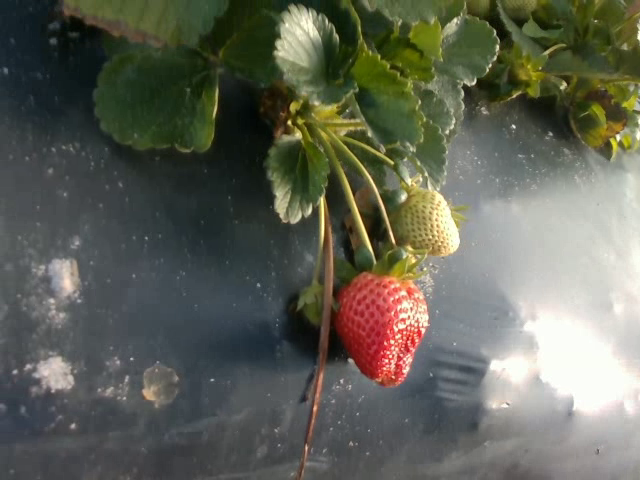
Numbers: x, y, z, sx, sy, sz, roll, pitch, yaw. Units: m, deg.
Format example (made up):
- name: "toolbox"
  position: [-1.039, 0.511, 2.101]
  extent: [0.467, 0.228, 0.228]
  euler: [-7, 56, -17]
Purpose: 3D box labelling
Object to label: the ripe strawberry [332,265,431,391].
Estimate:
- name: "ripe strawberry"
  position: [0.032, 0.038, 0.261]
  extent: [0.047, 0.050, 0.034]
  euler: [10, -9, -32]
